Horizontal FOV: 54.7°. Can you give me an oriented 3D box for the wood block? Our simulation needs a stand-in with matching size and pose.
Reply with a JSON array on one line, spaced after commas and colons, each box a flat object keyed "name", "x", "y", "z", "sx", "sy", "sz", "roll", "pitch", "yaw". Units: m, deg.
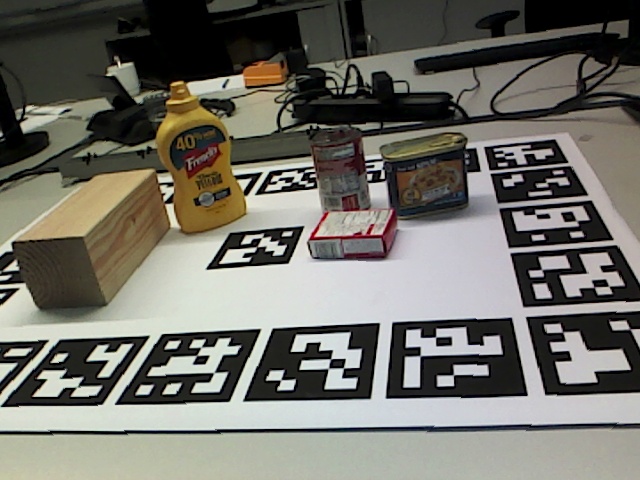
[{"name": "wood block", "x": -0.272, "y": -0.011, "z": 0.776, "sx": 0.091, "sy": 0.089, "sz": 0.206, "roll": -3, "pitch": 23, "yaw": 13}]

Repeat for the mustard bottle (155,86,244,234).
[{"name": "mustard bottle", "x": -0.166, "y": -0.108, "z": 0.824, "sx": 0.096, "sy": 0.191, "sz": 0.059, "roll": -14, "pitch": 25, "yaw": -10}]

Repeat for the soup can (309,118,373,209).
[{"name": "soup can", "x": 0.029, "y": -0.097, "z": 0.797, "sx": 0.068, "sy": 0.101, "sz": 0.068, "roll": -10, "pitch": 27, "yaw": 5}]

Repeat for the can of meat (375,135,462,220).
[{"name": "can of meat", "x": 0.123, "y": -0.077, "z": 0.762, "sx": 0.102, "sy": 0.083, "sz": 0.058, "roll": -8, "pitch": 26, "yaw": 0}]

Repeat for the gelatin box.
[{"name": "gelatin box", "x": 0.036, "y": -0.009, "z": 0.708, "sx": 0.090, "sy": 0.030, "sz": 0.073, "roll": -2, "pitch": 29, "yaw": 24}]
